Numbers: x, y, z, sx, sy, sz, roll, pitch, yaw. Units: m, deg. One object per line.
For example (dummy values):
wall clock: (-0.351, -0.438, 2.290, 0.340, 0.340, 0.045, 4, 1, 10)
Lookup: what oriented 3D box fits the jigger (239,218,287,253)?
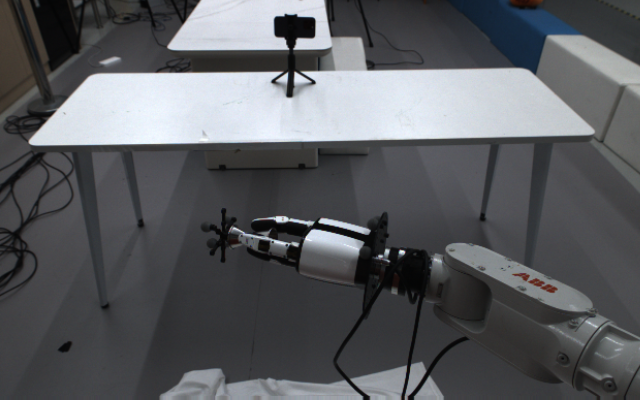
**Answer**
jigger: (-0.098, 0.057, 0.762, 0.071, 0.043, 0.043, 4, 34, 16)
